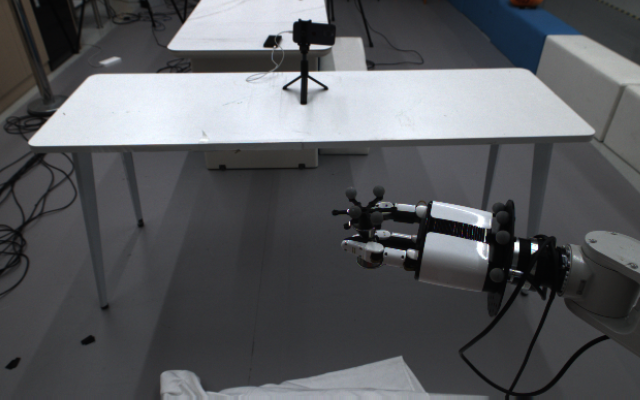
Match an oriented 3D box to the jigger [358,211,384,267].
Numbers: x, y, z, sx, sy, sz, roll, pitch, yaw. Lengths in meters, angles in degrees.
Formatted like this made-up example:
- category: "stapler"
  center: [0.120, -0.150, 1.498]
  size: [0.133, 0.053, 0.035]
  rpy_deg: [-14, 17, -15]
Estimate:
- category: "jigger"
  center: [0.071, 0.055, 0.693]
  size: [0.043, 0.071, 0.043]
  rpy_deg: [-9, 31, 5]
